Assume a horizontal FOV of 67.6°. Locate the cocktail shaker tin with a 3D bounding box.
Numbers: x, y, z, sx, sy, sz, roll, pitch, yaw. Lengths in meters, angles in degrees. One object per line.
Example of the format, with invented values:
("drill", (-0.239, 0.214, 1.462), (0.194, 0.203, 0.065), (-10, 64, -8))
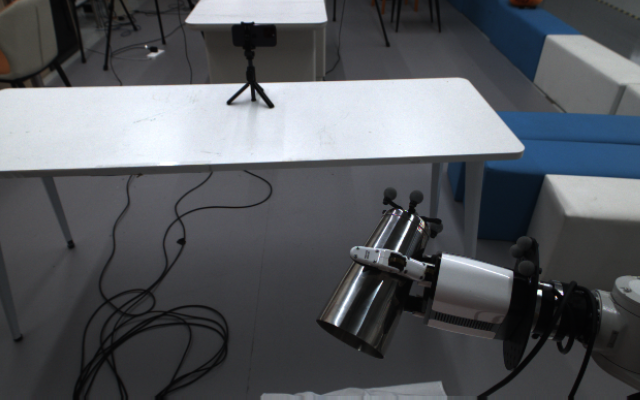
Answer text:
("cocktail shaker tin", (0.077, 0.094, 0.603), (0.093, 0.093, 0.170), (20, 66, 24))
